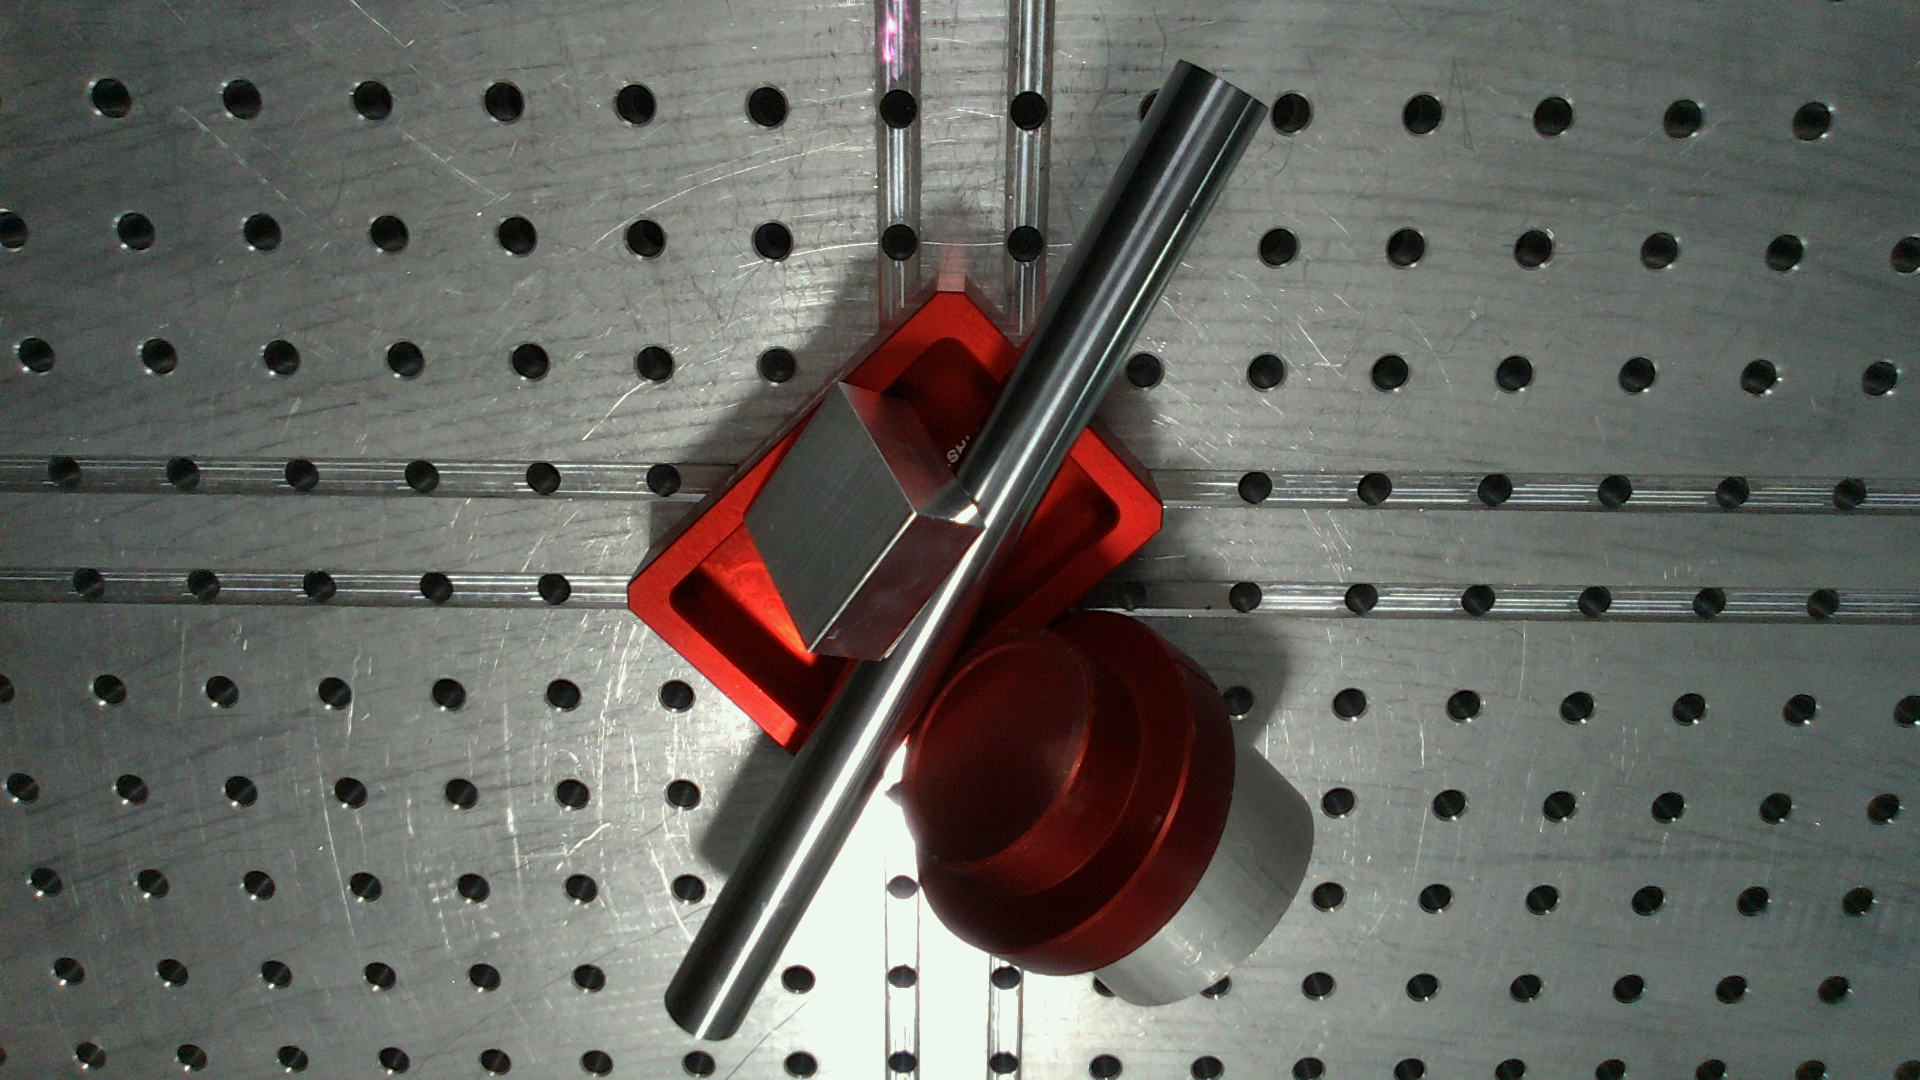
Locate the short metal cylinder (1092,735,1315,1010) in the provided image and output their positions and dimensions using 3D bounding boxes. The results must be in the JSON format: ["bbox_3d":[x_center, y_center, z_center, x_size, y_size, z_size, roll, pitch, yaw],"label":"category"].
[{"bbox_3d":[0.054,0.086,0.398,0.080,0.080,0.050,-42,105,14],"label":"short metal cylinder"}]

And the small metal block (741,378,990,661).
[{"bbox_3d":[-0.026,-0.005,0.358,0.025,0.050,0.050,11,127,-44],"label":"small metal block"}]

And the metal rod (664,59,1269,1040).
[{"bbox_3d":[-0.008,0.017,0.370,0.025,0.025,0.300,26,108,-9],"label":"metal rod"}]

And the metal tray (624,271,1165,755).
[{"bbox_3d":[-0.019,0.000,0.393,0.130,0.030,0.090,-42,105,14],"label":"metal tray"}]

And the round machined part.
[{"bbox_3d":[0.022,0.063,0.370,0.098,0.098,0.042,-45,126,14],"label":"round machined part"}]
